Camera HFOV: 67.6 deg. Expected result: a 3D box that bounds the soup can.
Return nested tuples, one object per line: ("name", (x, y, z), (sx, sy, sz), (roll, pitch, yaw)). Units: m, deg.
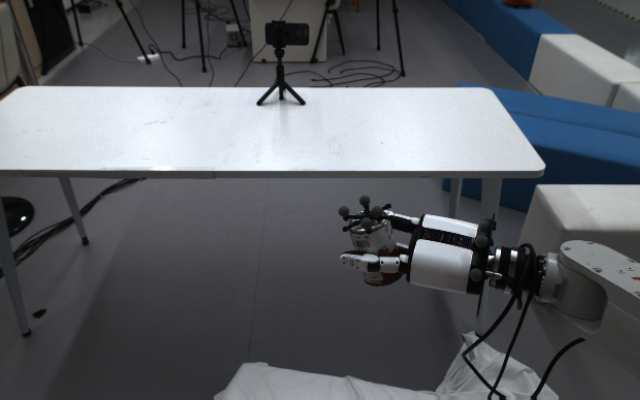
("soup can", (0.090, 0.075, 0.764), (0.067, 0.101, 0.067), (-16, 23, 7))
